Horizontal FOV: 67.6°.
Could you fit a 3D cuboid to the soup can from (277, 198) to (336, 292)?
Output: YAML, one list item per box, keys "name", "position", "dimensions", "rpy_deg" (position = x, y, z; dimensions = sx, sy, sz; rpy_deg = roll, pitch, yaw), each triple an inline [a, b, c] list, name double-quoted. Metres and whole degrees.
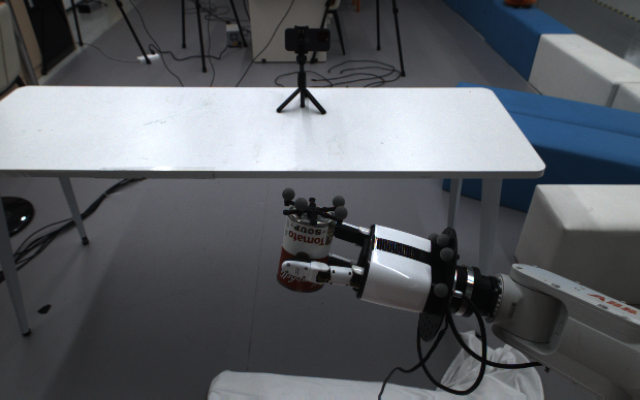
- name: "soup can"
  position: [-0.017, 0.065, 0.660]
  dimensions: [0.067, 0.101, 0.067]
  rpy_deg: [9, 20, -3]
